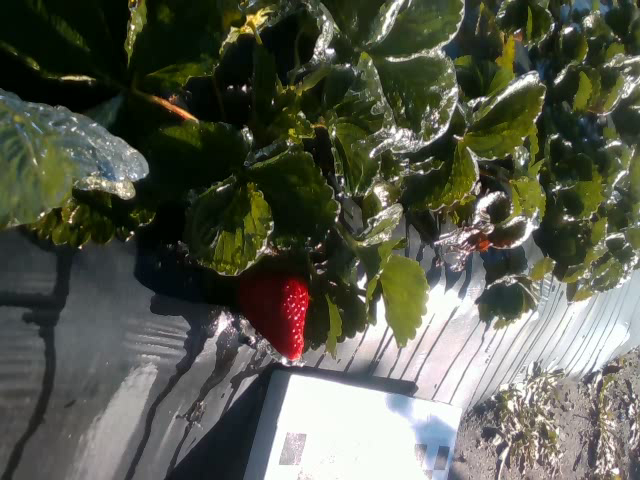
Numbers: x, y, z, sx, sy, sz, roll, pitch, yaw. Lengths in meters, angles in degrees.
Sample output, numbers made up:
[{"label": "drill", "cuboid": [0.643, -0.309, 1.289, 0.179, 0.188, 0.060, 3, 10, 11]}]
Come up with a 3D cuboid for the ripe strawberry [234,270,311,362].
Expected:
[{"label": "ripe strawberry", "cuboid": [-0.020, 0.040, 0.317, 0.047, 0.053, 0.041, -36, -31, 29]}]
